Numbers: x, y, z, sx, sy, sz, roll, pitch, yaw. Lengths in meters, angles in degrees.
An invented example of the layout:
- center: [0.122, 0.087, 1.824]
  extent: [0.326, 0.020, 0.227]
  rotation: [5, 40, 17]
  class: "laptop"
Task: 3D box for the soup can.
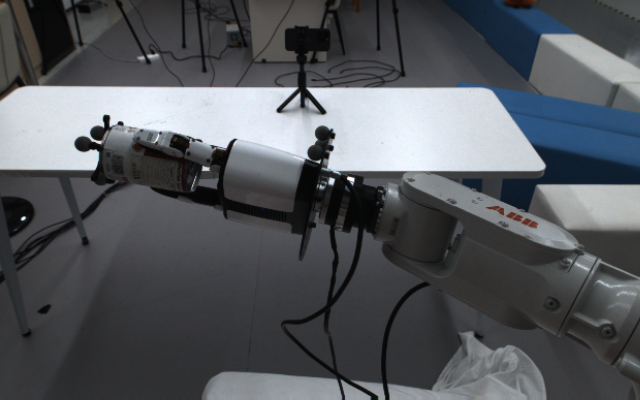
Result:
- center: [-0.196, -0.047, 0.577]
  extent: [0.101, 0.067, 0.067]
  rotation: [10, 35, -1]
  class: "soup can"
